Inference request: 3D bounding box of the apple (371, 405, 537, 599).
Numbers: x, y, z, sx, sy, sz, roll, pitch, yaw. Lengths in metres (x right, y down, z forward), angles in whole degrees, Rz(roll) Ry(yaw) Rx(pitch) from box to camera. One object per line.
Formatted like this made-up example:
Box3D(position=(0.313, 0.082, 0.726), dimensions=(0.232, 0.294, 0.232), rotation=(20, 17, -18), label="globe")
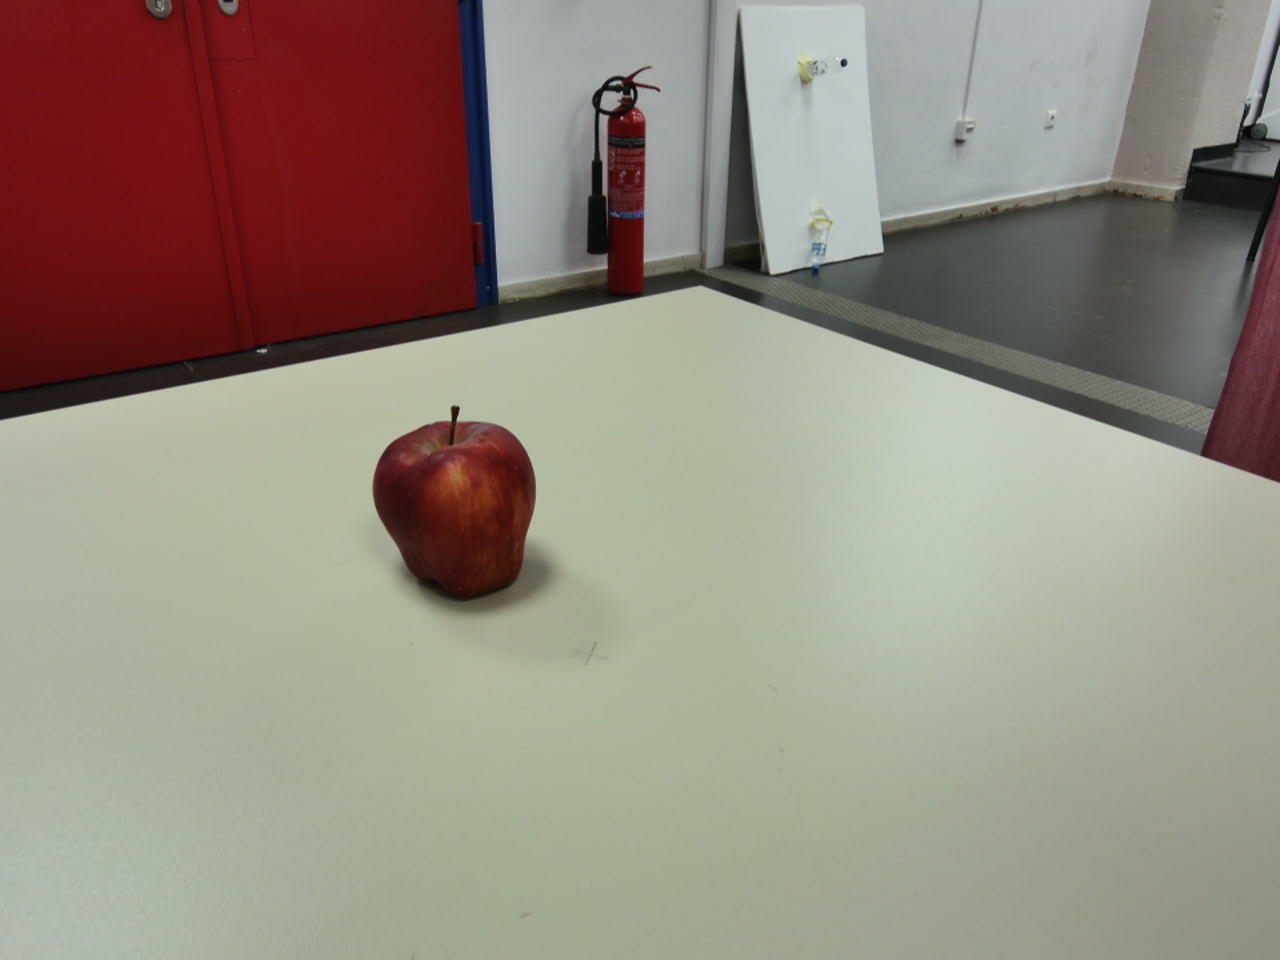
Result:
Box3D(position=(-0.091, 0.008, 0.489), dimensions=(0.083, 0.090, 0.083), rotation=(0, 25, 0), label="apple")
